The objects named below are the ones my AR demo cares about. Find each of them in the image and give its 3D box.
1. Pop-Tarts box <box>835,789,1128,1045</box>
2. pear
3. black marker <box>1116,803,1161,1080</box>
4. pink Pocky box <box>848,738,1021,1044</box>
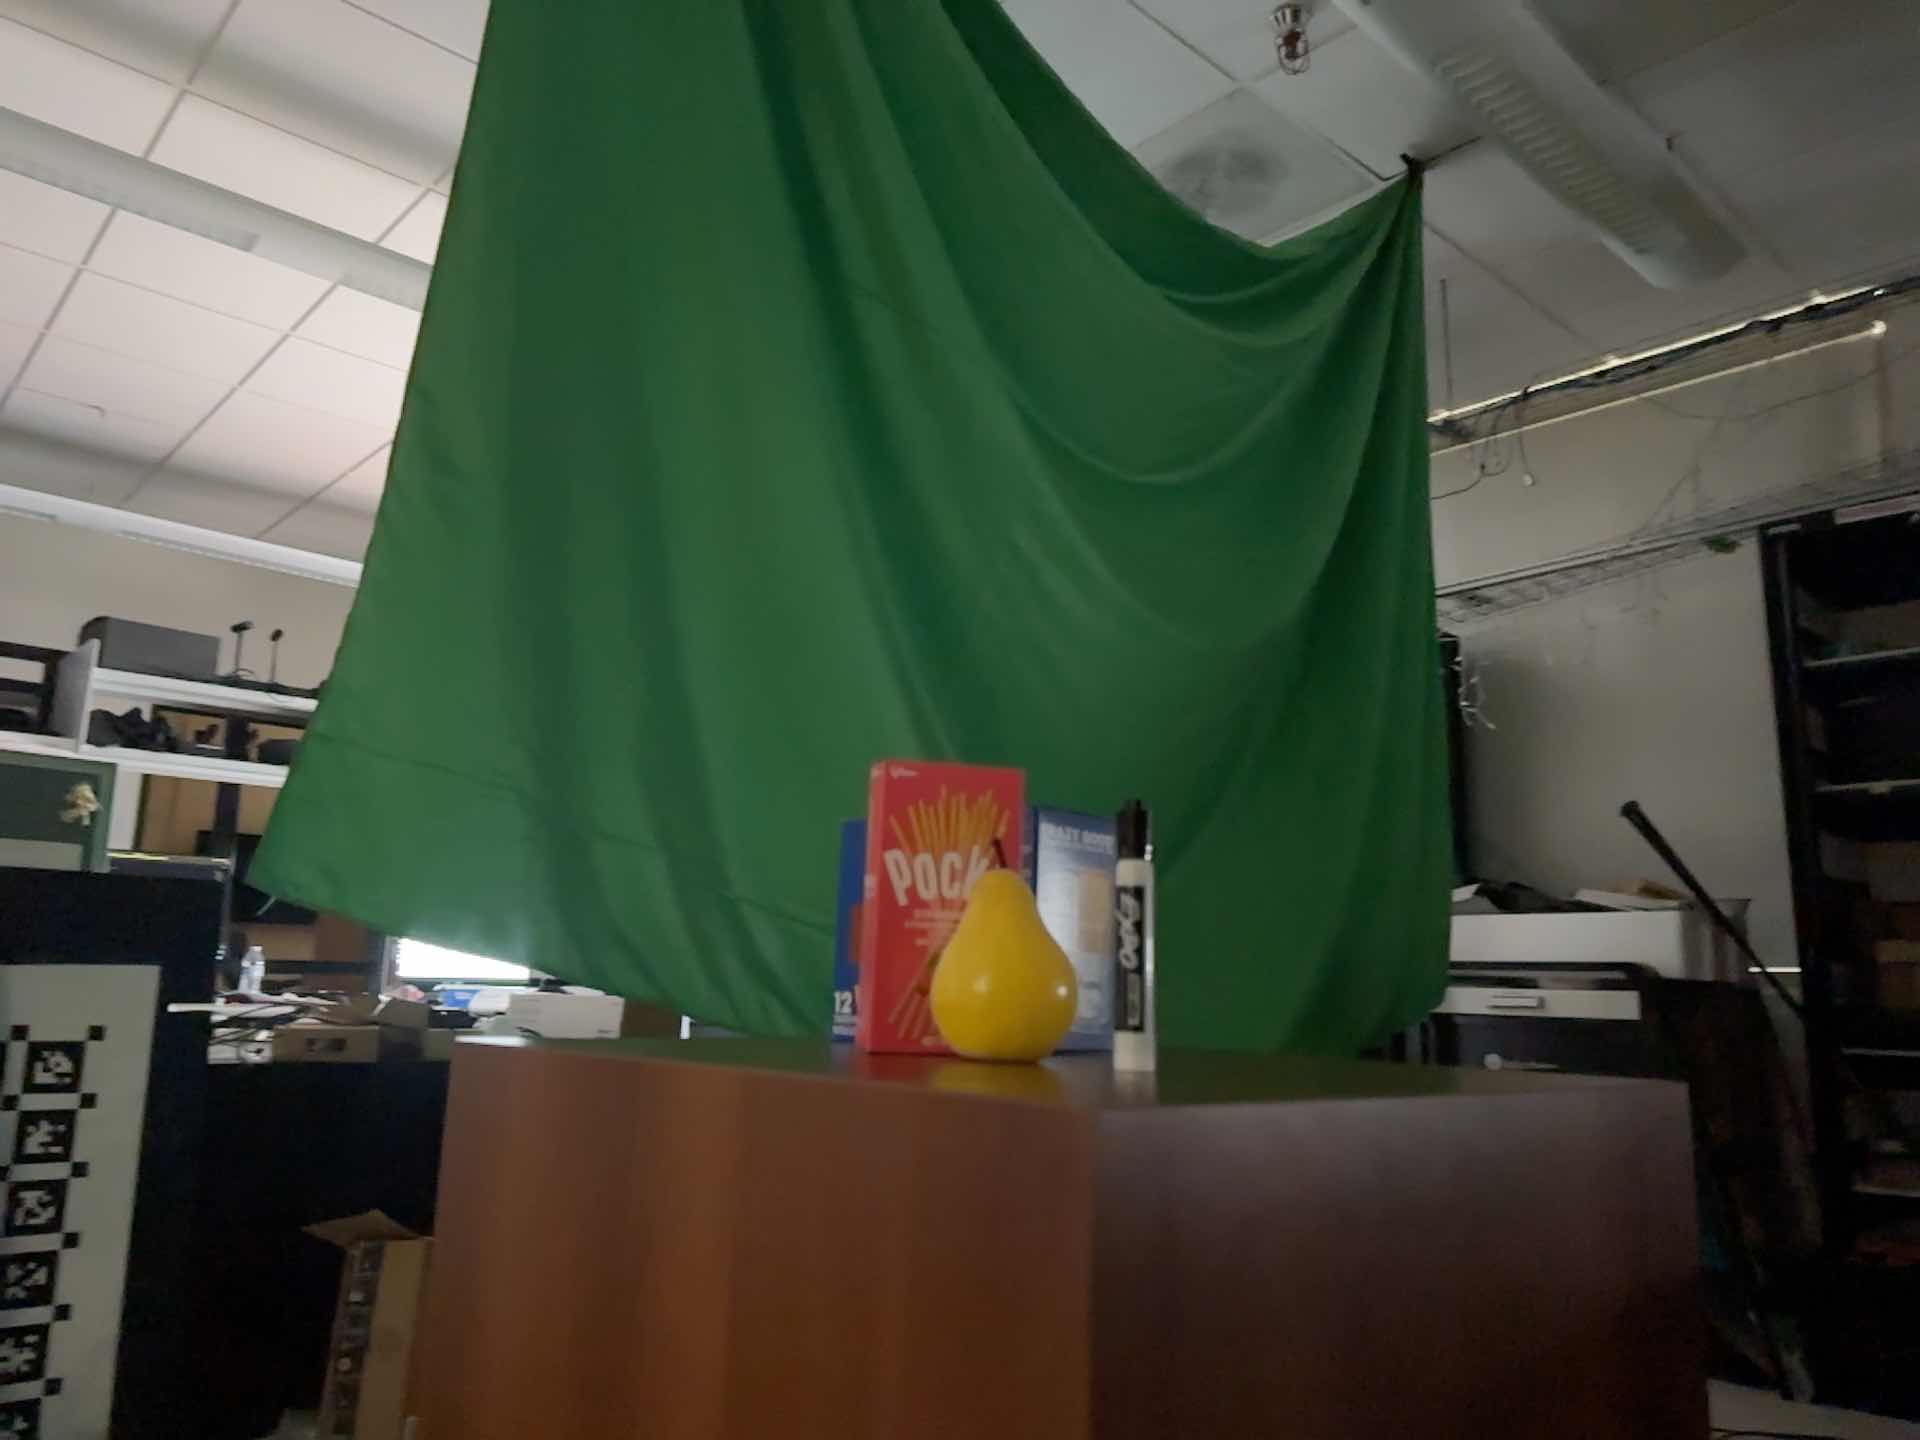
[{"bbox_3d":[0.010,0.118,0.810,0.161,0.135,0.075,-7,-13,44],"label":"Pop-Tarts box"},{"bbox_3d":[0.020,0.104,0.652,0.080,0.111,0.080,2,-9,0],"label":"pear"},{"bbox_3d":[0.079,0.097,0.600,0.020,0.121,0.020,1,-8,0],"label":"black marker"},{"bbox_3d":[-0.012,0.088,0.699,0.084,0.155,0.029,4,-8,-20],"label":"pink Pocky box"}]
